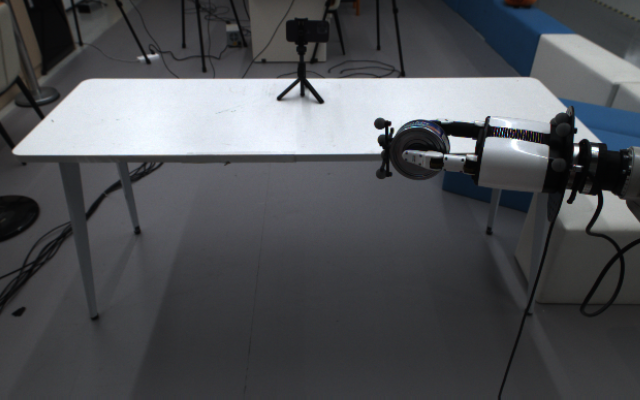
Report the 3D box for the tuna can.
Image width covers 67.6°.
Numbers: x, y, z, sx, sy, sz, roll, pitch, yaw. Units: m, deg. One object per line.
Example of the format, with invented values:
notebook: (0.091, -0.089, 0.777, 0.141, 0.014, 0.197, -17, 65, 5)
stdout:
tuna can: (0.149, -0.073, 0.715, 0.085, 0.085, 0.034, 13, 27, 15)
